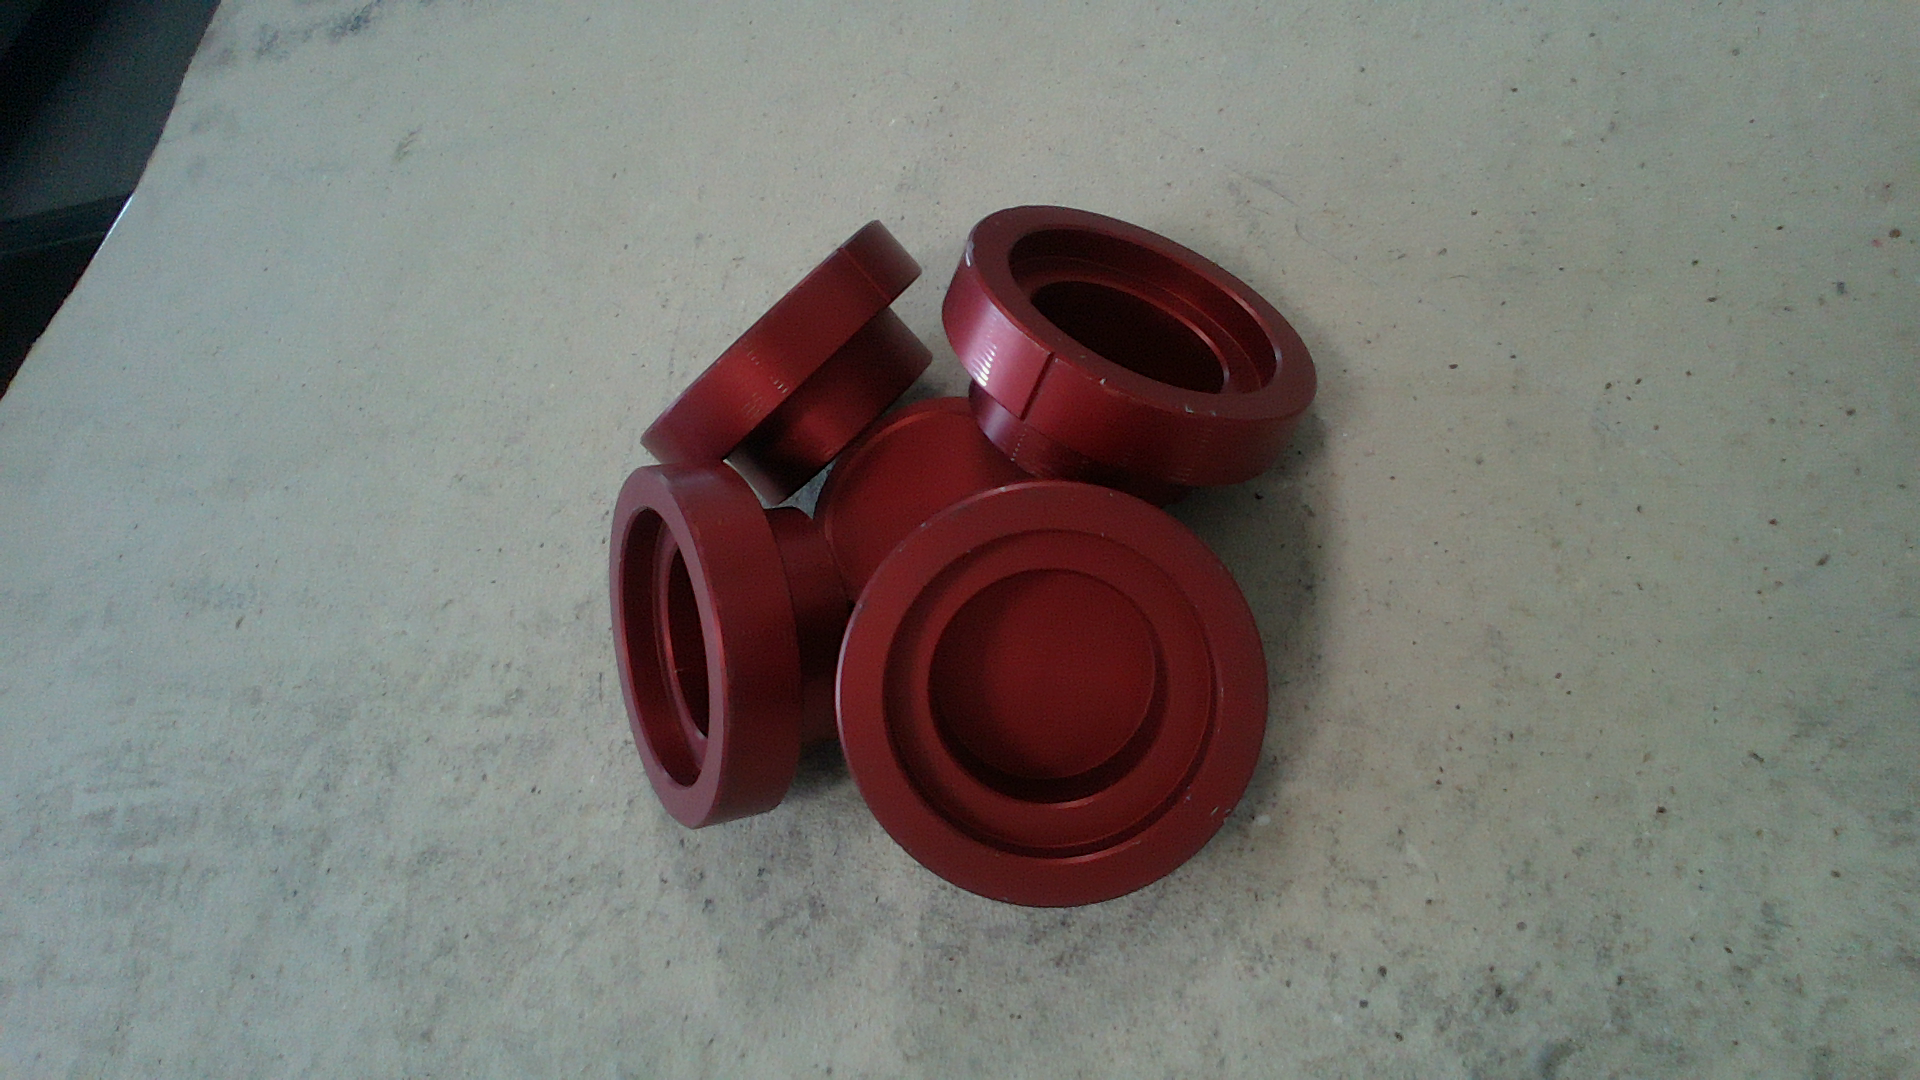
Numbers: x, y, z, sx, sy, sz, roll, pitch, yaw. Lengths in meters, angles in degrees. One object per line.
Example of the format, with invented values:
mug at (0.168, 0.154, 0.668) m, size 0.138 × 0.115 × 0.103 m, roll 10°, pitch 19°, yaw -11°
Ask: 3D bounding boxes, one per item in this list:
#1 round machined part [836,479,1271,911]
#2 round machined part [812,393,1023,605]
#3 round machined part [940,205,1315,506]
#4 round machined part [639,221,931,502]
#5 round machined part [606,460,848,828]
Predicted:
round machined part at (0.021, 0.034, 0.329) m, size 0.098 × 0.042 × 0.098 m, roll 0°, pitch 95°, yaw 0°
round machined part at (-0.003, -0.002, 0.385) m, size 0.098 × 0.042 × 0.098 m, roll -13°, pitch 54°, yaw 19°
round machined part at (0.041, -0.045, 0.366) m, size 0.098 × 0.098 × 0.042 m, roll 60°, pitch 138°, yaw 39°
round machined part at (-0.047, -0.048, 0.417) m, size 0.098 × 0.042 × 0.098 m, roll -41°, pitch 9°, yaw 9°
round machined part at (-0.063, 0.026, 0.378) m, size 0.042 × 0.098 × 0.098 m, roll -7°, pitch 44°, yaw -29°
